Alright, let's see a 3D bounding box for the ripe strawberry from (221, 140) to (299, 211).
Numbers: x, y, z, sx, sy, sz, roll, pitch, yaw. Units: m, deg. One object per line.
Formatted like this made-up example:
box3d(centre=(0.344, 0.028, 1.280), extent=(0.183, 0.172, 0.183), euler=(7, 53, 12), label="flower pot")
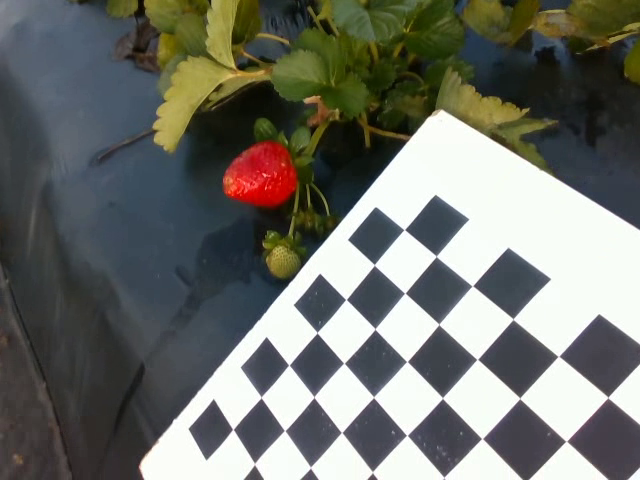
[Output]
box3d(centre=(-0.043, -0.041, 0.397), extent=(0.043, 0.052, 0.057), euler=(11, 17, 41), label="ripe strawberry")
